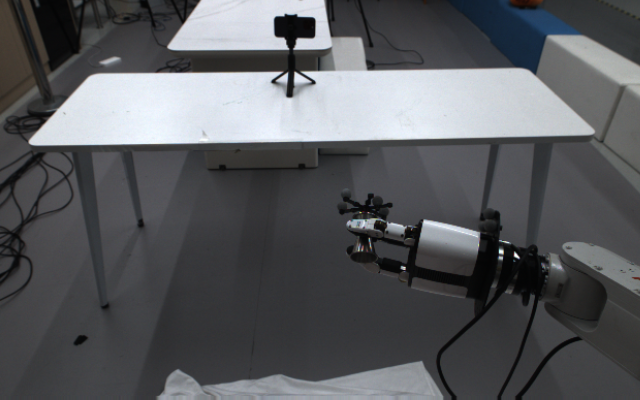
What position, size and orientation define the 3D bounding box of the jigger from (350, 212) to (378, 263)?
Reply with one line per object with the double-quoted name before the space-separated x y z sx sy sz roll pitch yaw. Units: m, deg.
"jigger" 0.067 0.054 0.741 0.043 0.043 0.071 4 60 2
